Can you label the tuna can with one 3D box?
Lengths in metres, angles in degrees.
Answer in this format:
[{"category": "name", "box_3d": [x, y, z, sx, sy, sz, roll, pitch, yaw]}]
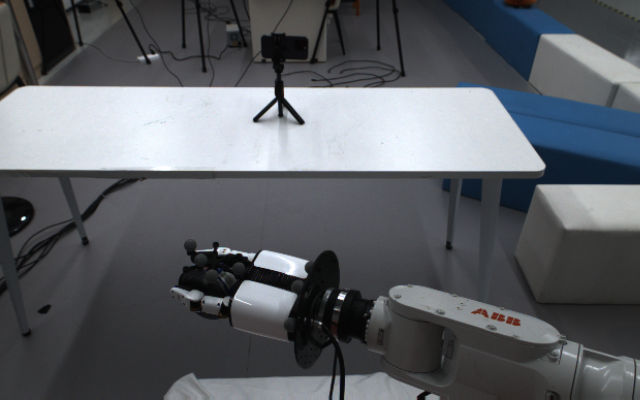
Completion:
[{"category": "tuna can", "box_3d": [-0.155, 0.127, 0.694, 0.085, 0.085, 0.034, 16, 29, 19]}]
